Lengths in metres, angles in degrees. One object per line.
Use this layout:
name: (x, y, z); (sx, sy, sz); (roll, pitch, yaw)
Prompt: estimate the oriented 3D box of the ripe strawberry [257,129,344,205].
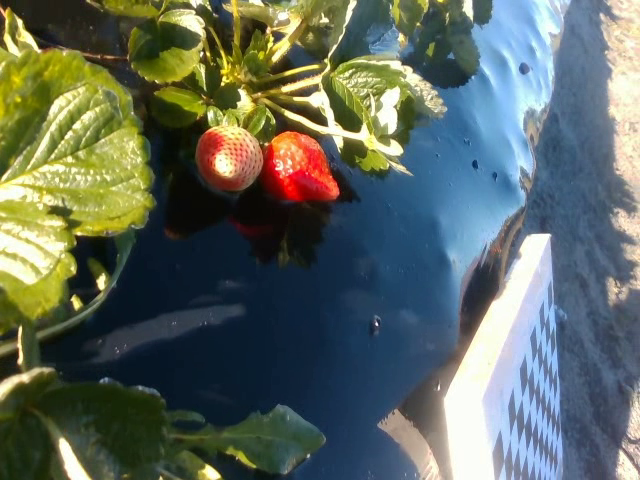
ripe strawberry: (-0.003, -0.033, 0.296); (0.040, 0.038, 0.055); (-37, 38, -24)
